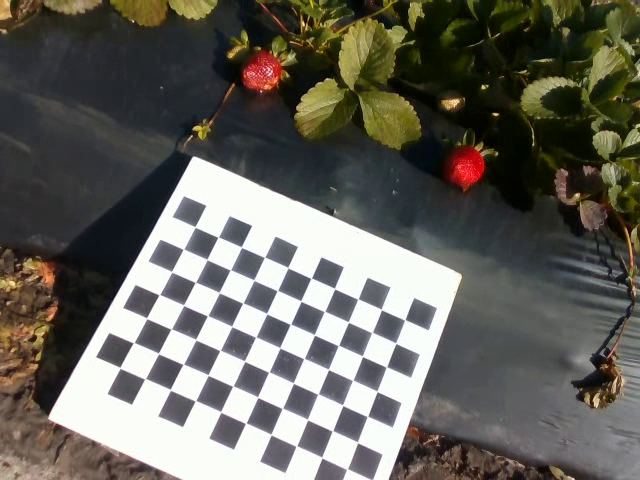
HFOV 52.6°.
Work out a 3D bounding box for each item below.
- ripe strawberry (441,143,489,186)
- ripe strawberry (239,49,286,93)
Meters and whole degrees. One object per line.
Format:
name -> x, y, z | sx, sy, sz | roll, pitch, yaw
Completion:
ripe strawberry -> 0.127, -0.065, 0.581 | 0.043, 0.043, 0.050 | -36, -9, 28
ripe strawberry -> -0.058, -0.157, 0.597 | 0.041, 0.043, 0.053 | 36, 30, 1
